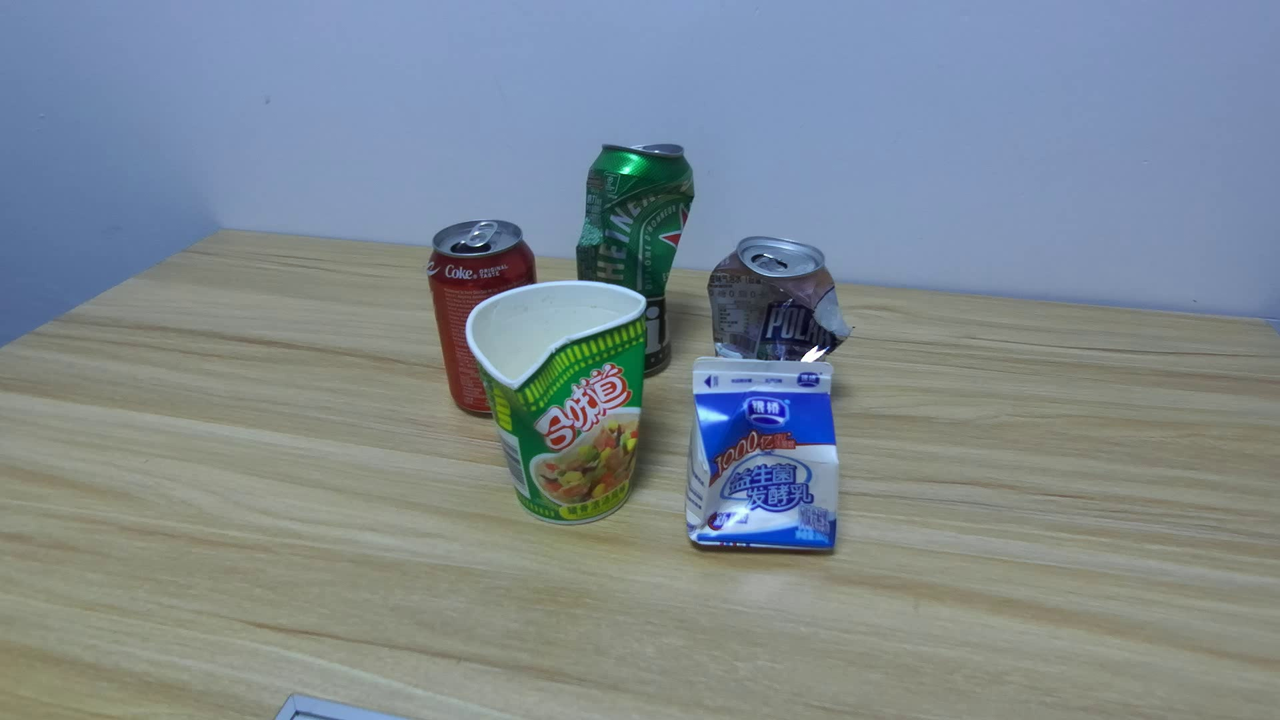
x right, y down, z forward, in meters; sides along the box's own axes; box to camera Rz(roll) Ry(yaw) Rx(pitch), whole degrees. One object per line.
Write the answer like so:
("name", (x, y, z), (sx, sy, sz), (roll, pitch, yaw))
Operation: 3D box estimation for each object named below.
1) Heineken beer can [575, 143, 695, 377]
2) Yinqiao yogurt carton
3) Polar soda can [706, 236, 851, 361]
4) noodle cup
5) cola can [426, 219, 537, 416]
("Heineken beer can", (-0.005, -0.066, 0.482), (0.067, 0.159, 0.079), (9, 26, 10))
("Yinqiao yogurt carton", (0.063, 0.041, 0.370), (0.077, 0.094, 0.071), (1, 27, 4))
("Polar soda can", (0.086, -0.019, 0.445), (0.074, 0.114, 0.070), (-12, 39, -12))
("noodle cup", (-0.039, 0.024, 0.386), (0.094, 0.109, 0.086), (-17, 36, -22))
("cola can", (-0.099, -0.029, 0.462), (0.068, 0.120, 0.067), (1, 34, 0))
